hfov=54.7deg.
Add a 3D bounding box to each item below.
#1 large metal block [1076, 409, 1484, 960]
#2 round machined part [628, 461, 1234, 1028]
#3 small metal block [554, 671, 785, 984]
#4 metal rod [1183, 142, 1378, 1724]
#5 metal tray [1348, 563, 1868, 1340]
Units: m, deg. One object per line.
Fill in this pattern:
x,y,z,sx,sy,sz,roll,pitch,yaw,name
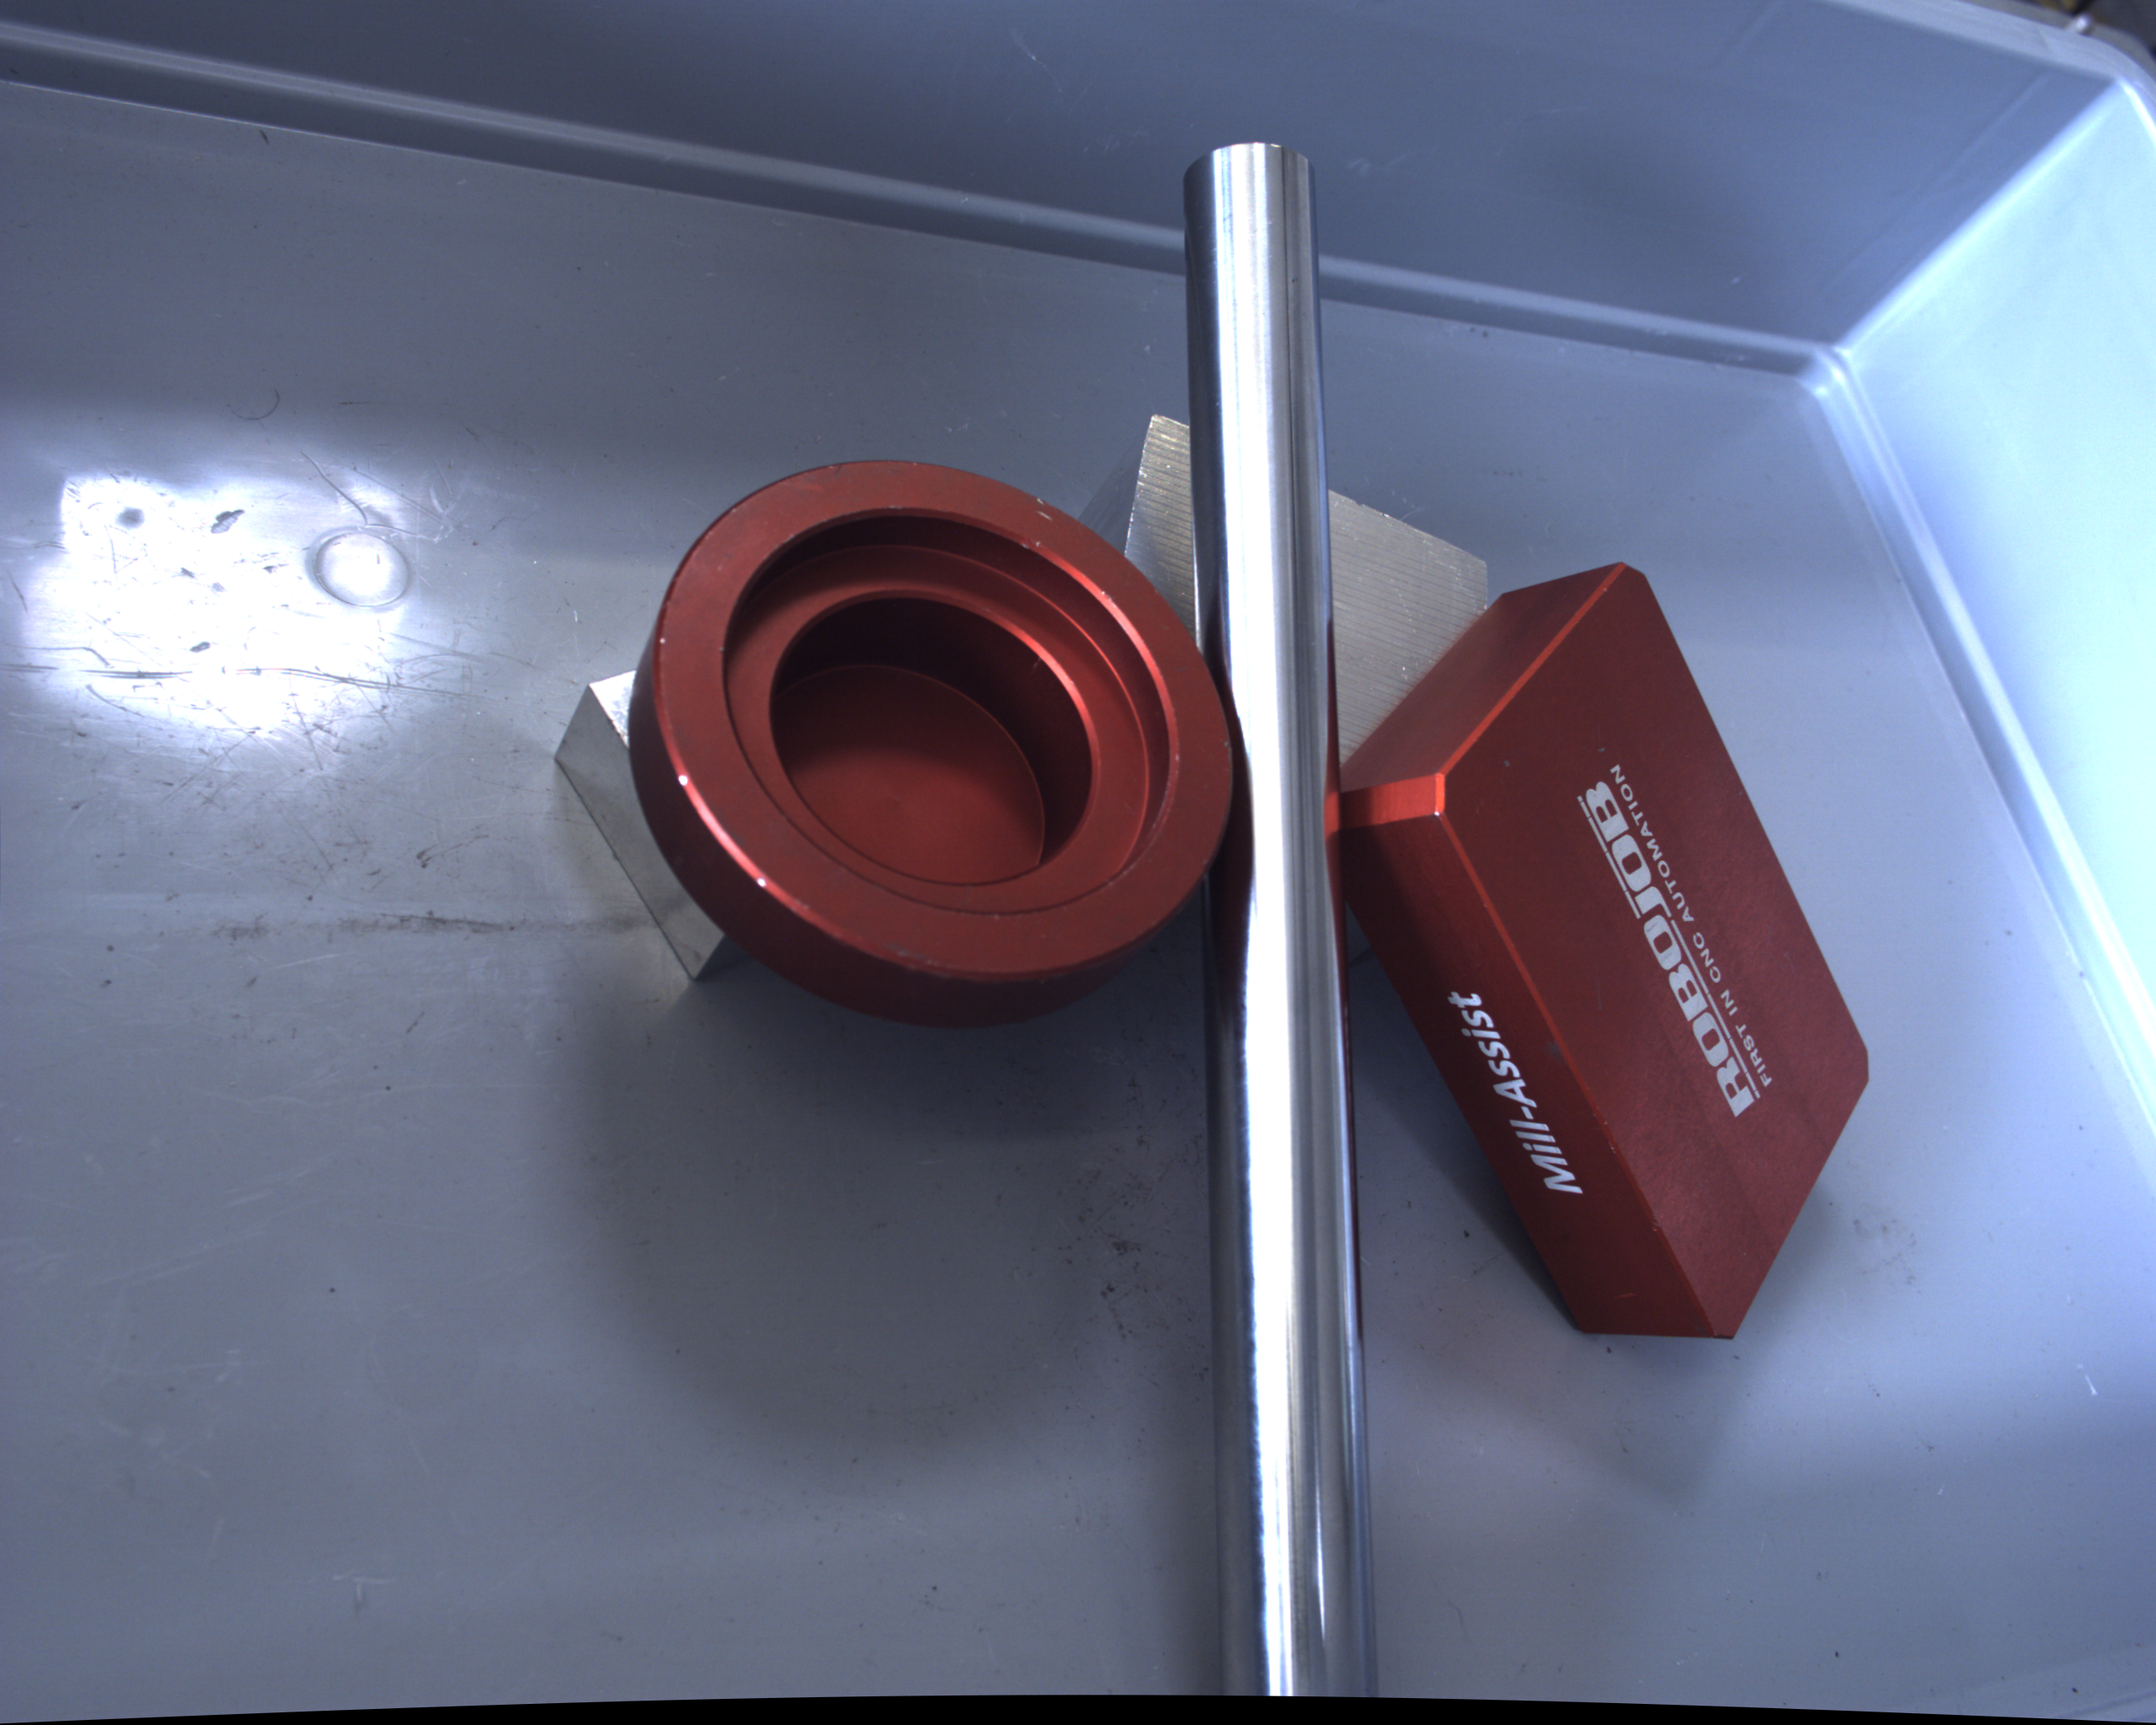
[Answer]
0.034,-0.033,0.427,0.080,0.050,0.080,21,54,-16,large metal block
-0.027,-0.016,0.353,0.099,0.042,0.098,11,58,-19,round machined part
-0.058,-0.013,0.381,0.050,0.025,0.050,-25,75,-37,small metal block
0.034,0.015,0.362,0.025,0.025,0.299,6,75,-25,metal rod
0.106,0.018,0.414,0.090,0.030,0.130,-45,113,-38,metal tray
